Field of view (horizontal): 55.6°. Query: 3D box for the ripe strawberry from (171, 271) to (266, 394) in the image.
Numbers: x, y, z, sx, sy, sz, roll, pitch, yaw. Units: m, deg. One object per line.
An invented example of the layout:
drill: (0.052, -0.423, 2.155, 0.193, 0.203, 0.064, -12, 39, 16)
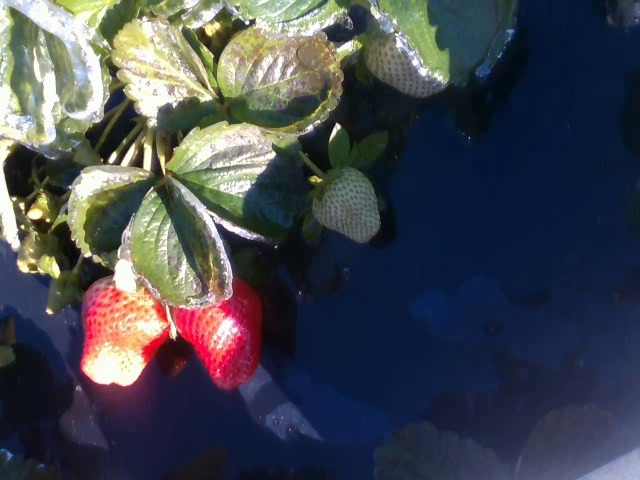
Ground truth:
ripe strawberry: (-0.055, 0.047, 0.302, 0.043, 0.059, 0.040, -36, 0, 18)

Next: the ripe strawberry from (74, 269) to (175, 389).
ripe strawberry: (-0.104, 0.053, 0.324, 0.052, 0.070, 0.040, 9, 9, 2)
